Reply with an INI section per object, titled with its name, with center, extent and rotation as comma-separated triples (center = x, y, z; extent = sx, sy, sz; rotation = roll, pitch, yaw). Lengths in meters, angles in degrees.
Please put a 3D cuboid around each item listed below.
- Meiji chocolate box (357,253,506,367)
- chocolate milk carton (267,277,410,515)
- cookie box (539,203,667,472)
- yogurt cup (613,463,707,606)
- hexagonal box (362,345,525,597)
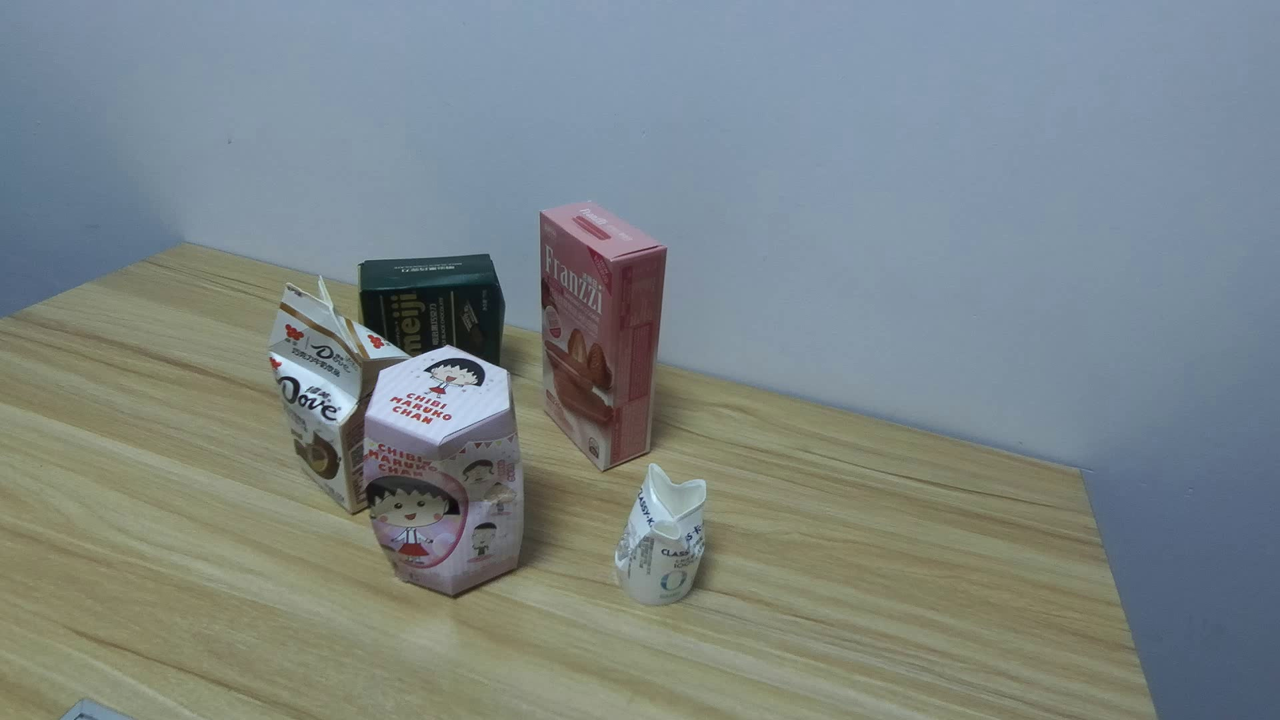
[Meiji chocolate box]
center = -0.178, -0.031, 0.608
extent = 0.123, 0.116, 0.058
rotation = -4, 36, -16
[chocolate milk carton]
center = -0.199, 0.018, 0.488
extent = 0.076, 0.155, 0.074
rotation = 31, 44, 31
[cookie box]
center = -0.033, -0.016, 0.541
extent = 0.048, 0.185, 0.095
rotation = -20, 40, -32
[yogurt cup]
center = 0.015, 0.114, 0.453
extent = 0.055, 0.072, 0.055
rotation = 21, 38, 19
[hexagonal box]
center = -0.122, 0.071, 0.443
extent = 0.089, 0.134, 0.093
rotation = -5, 35, -16
